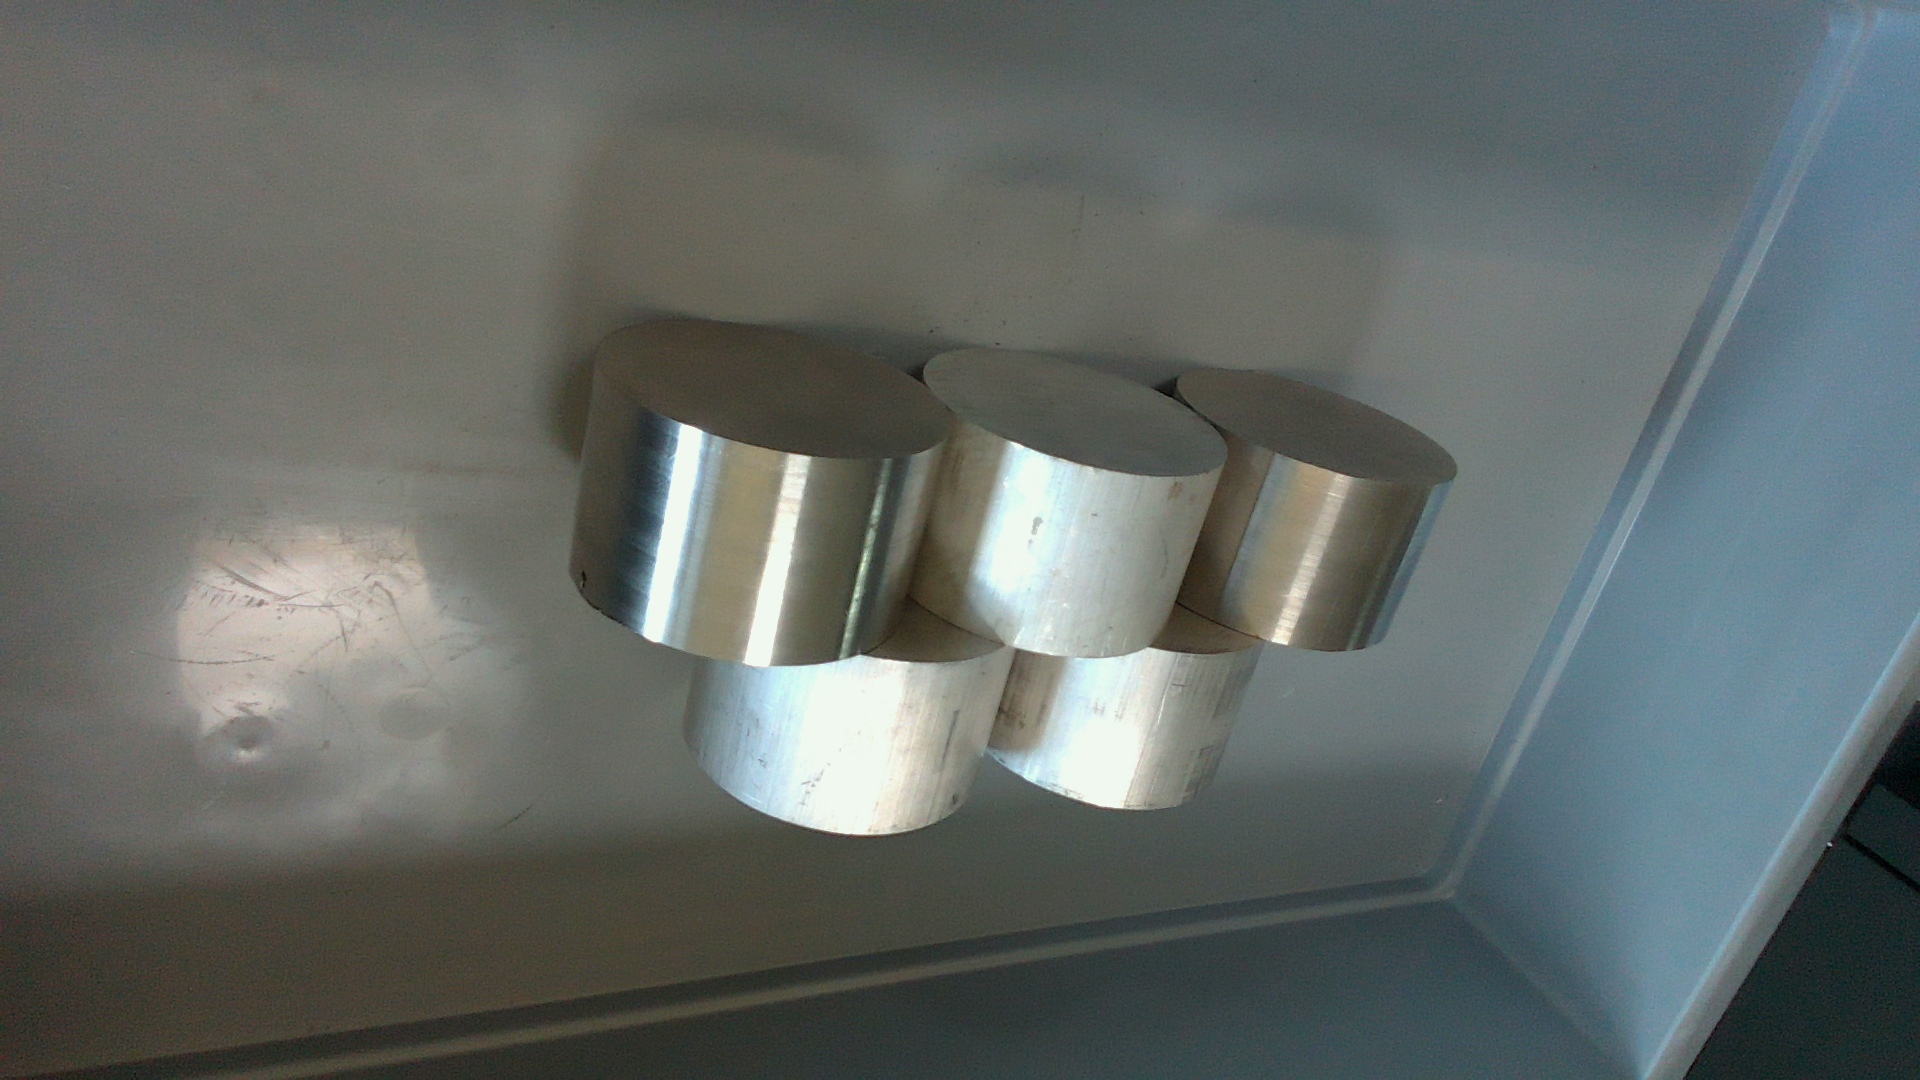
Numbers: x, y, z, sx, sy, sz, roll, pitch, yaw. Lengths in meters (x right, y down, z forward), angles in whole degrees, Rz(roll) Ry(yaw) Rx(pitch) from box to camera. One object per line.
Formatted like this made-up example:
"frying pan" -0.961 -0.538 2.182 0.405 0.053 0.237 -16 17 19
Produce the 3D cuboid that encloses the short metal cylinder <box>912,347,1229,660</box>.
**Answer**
"short metal cylinder" 0.023 -0.012 0.357 0.080 0.080 0.050 1 118 -29

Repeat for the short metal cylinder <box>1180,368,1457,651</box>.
"short metal cylinder" 0.094 -0.011 0.396 0.080 0.080 0.050 2 118 -29

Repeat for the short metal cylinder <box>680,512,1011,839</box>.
"short metal cylinder" -0.028 0.032 0.356 0.080 0.080 0.050 1 118 -29

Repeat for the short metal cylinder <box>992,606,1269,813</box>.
"short metal cylinder" 0.043 0.033 0.396 0.080 0.080 0.050 1 118 -29

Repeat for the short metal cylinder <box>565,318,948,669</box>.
"short metal cylinder" -0.047 -0.013 0.318 0.080 0.080 0.050 1 118 -29
